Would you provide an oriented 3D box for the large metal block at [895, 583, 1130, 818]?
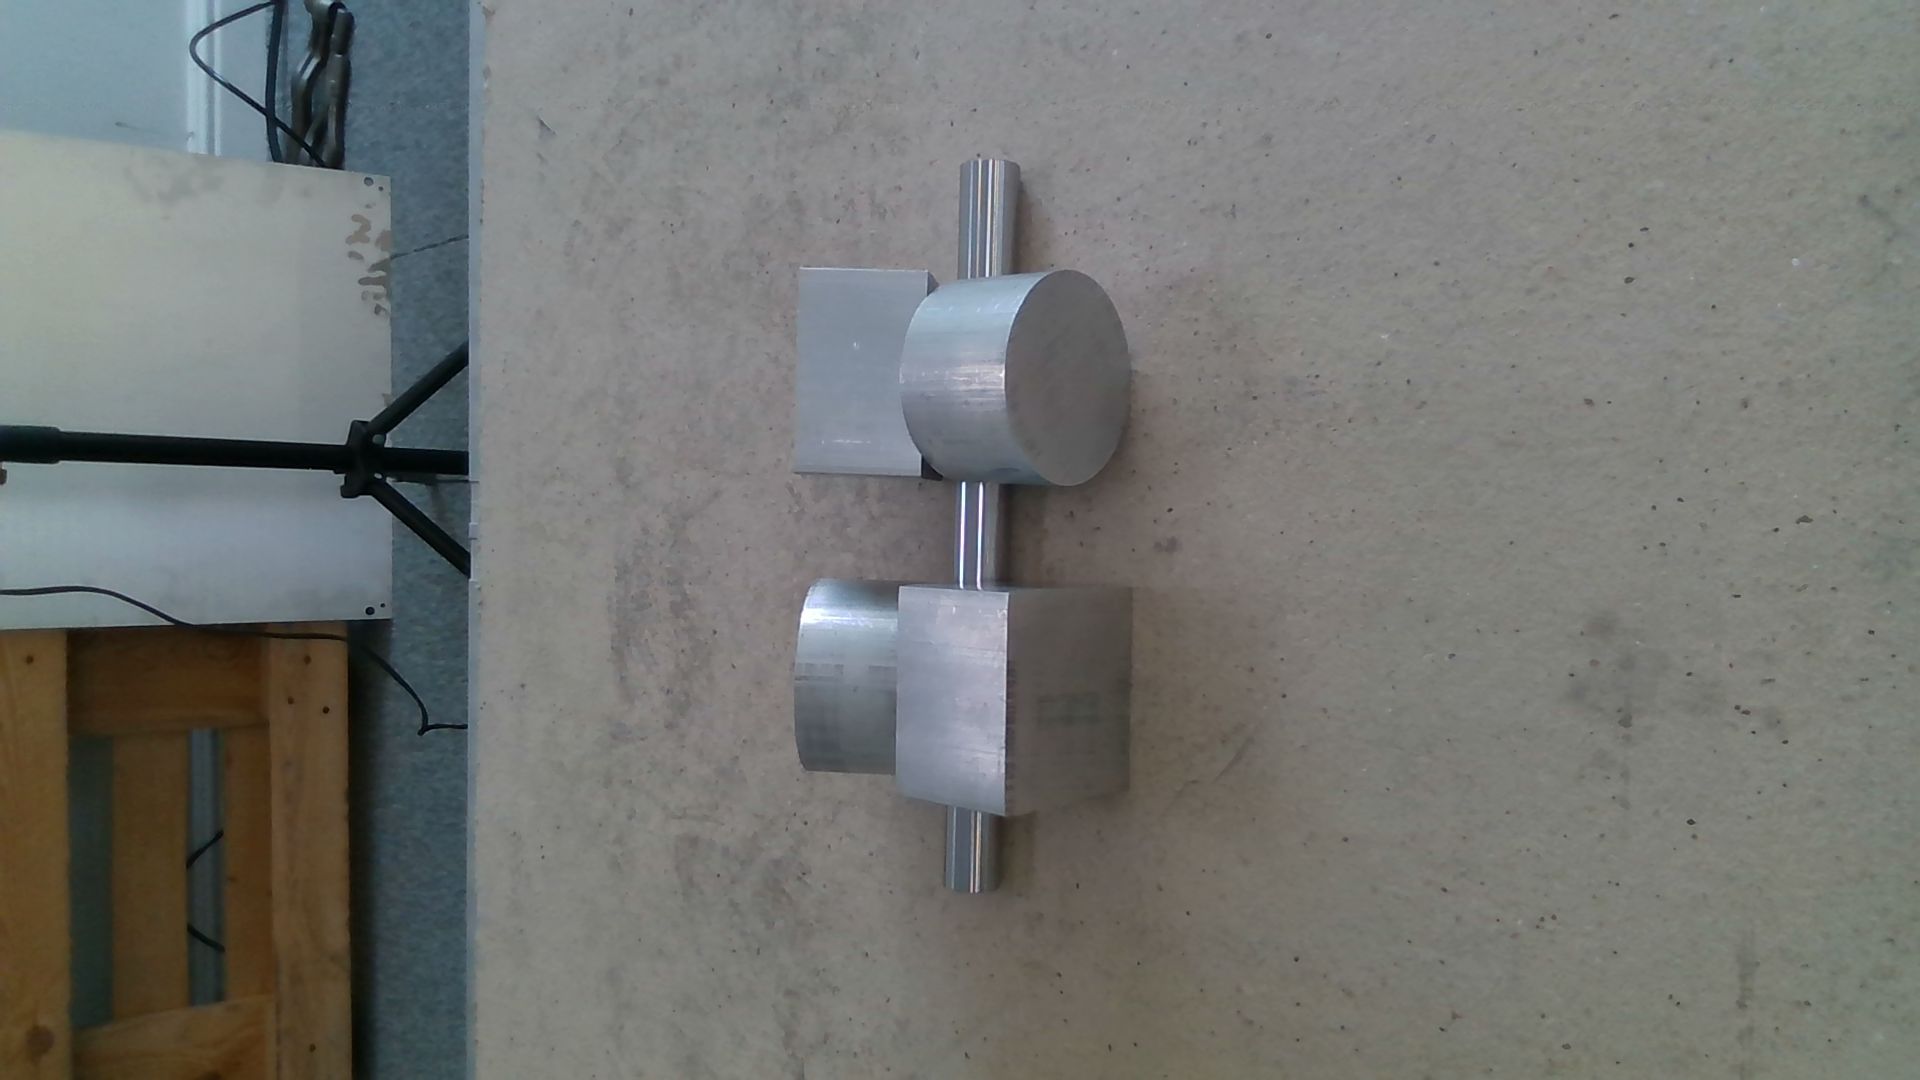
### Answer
[{"bbox_3d":[0.021,0.057,0.529,0.050,0.080,0.080,2,92,40],"label":"large metal block"}]

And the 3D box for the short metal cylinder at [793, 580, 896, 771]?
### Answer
[{"bbox_3d":[-0.036,0.056,0.570,0.050,0.080,0.080,1,91,5],"label":"short metal cylinder"}]

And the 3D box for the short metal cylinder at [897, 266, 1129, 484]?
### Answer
[{"bbox_3d":[0.021,-0.062,0.527,0.050,0.080,0.080,5,93,40],"label":"short metal cylinder"}]

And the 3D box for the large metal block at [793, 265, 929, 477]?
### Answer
[{"bbox_3d":[-0.034,-0.066,0.567,0.050,0.080,0.080,2,92,6],"label":"large metal block"}]

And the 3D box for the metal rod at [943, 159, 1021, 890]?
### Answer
[{"bbox_3d":[0.009,-0.005,0.577,0.025,0.025,0.300,3,93,40],"label":"metal rod"}]
